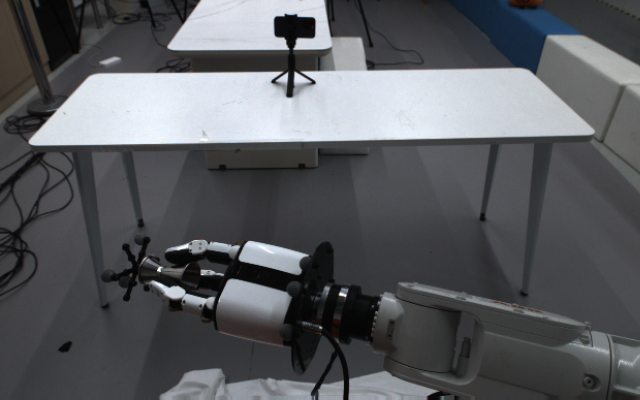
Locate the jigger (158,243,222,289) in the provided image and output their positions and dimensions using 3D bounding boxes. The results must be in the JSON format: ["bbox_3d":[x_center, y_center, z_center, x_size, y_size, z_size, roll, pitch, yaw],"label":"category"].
[{"bbox_3d":[-0.189,0.091,0.635,0.071,0.043,0.043,5,34,18],"label":"jigger"}]
